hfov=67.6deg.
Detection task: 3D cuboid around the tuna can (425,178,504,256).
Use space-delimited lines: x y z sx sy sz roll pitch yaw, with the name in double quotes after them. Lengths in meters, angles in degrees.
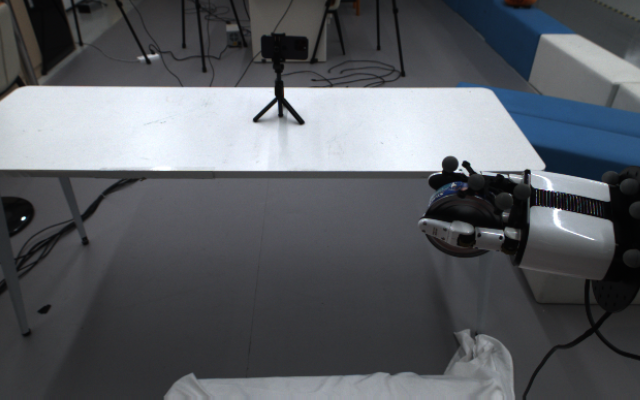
0.165 0.020 0.553 0.085 0.085 0.034 12 32 14 "tuna can"
